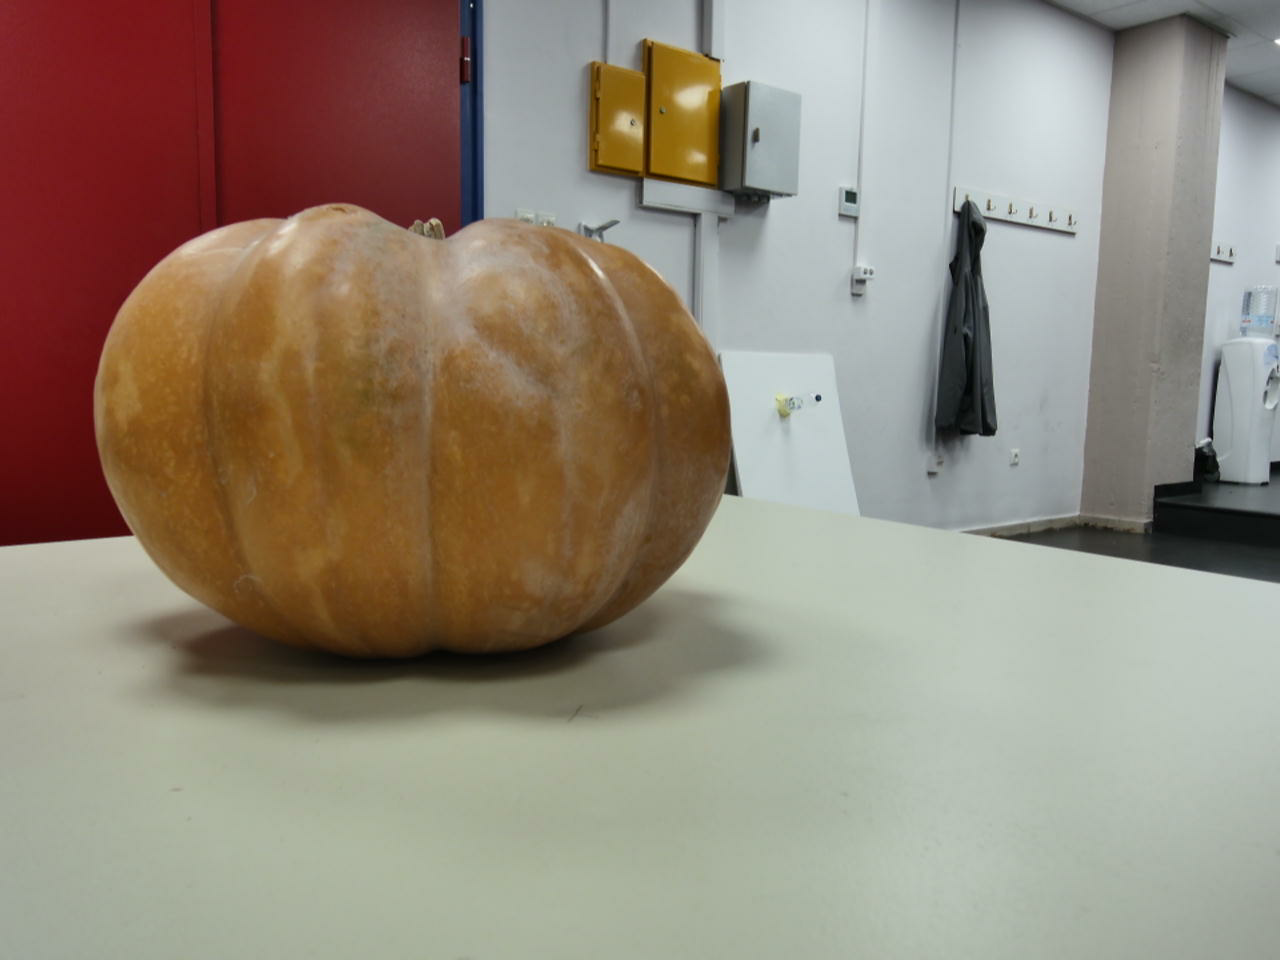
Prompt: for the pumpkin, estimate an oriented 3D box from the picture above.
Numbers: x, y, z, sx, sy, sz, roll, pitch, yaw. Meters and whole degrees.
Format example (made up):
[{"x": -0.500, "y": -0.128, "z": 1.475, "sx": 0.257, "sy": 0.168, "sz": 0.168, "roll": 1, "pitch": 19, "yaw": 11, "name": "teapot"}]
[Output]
[{"x": -0.095, "y": -0.022, "z": 0.438, "sx": 0.277, "sy": 0.181, "sz": 0.277, "roll": 0, "pitch": 4, "yaw": 0, "name": "pumpkin"}]
